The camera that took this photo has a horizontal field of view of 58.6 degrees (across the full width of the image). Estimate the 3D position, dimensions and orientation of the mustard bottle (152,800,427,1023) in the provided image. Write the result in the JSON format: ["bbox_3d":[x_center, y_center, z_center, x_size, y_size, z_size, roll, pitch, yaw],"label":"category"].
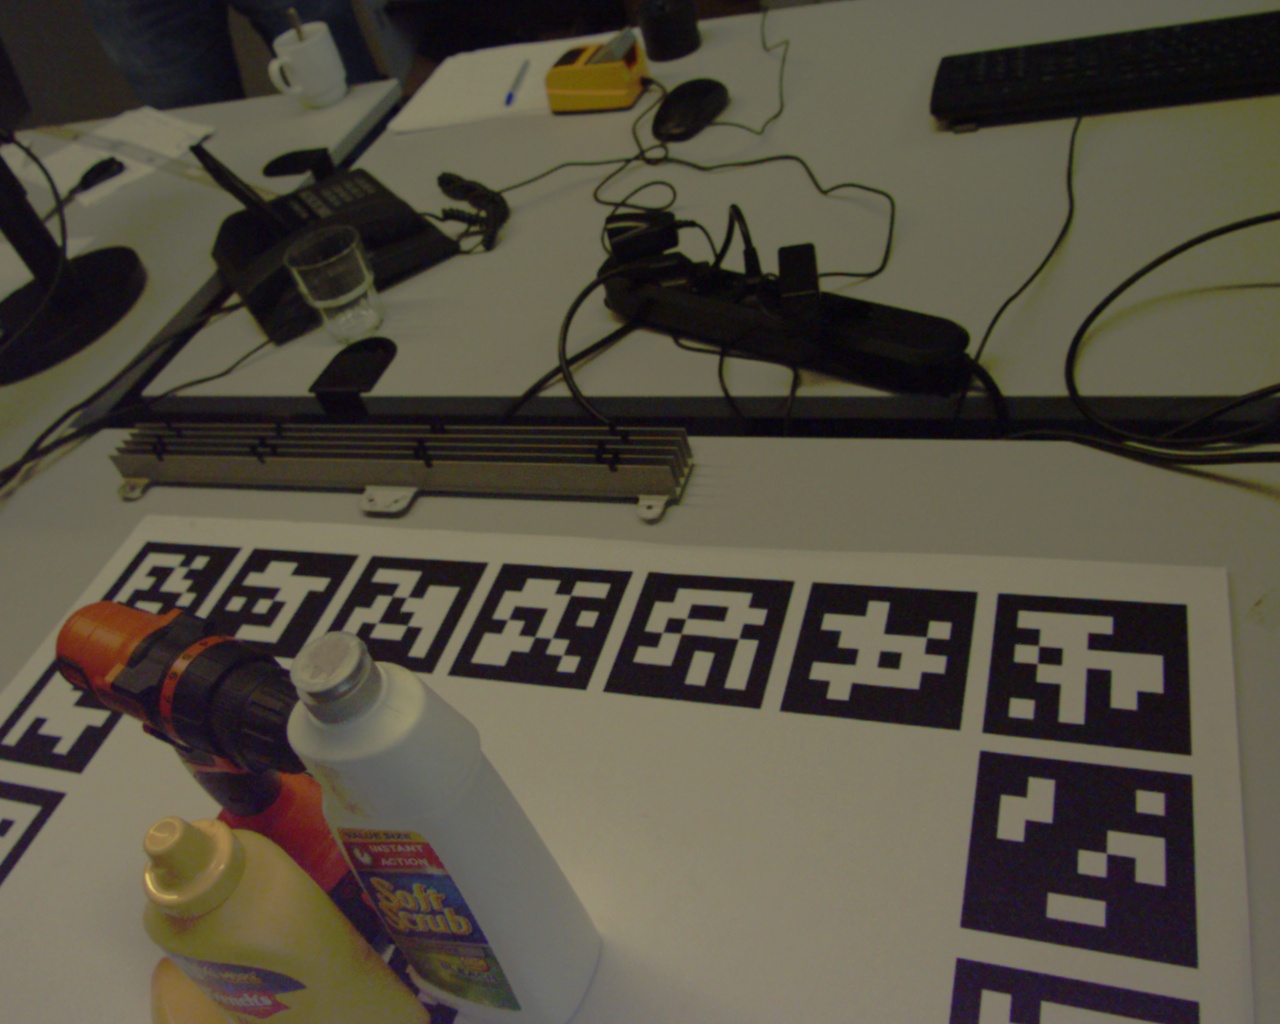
[{"bbox_3d":[-0.180,0.197,0.554,0.097,0.190,0.058,4,47,23],"label":"mustard bottle"}]

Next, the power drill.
[{"bbox_3d":[-0.201,0.130,0.602,0.187,0.185,0.057,14,51,30],"label":"power drill"}]

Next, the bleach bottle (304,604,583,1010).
[{"bbox_3d":[-0.103,0.142,0.546,0.104,0.249,0.067,5,42,25],"label":"bleach bottle"}]

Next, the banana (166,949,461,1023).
[{"bbox_3d":[-0.187,0.276,0.601,0.200,0.038,0.074,5,49,28],"label":"banana"}]
